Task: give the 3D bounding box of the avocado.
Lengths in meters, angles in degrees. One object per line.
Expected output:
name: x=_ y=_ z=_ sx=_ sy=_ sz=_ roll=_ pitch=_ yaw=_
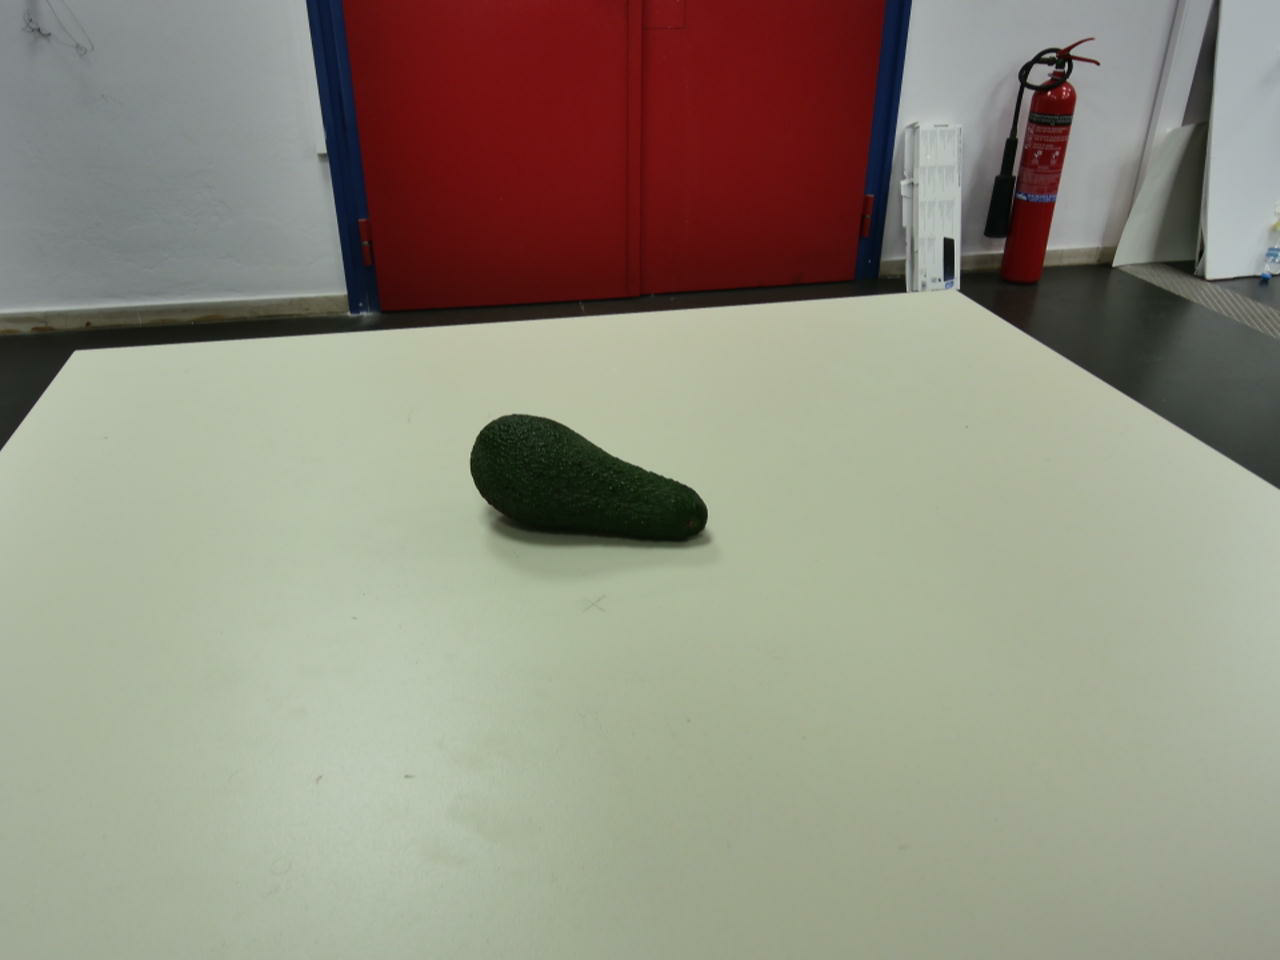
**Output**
avocado: x=-0.028 y=-0.004 z=0.575 sx=0.141 sy=0.067 sz=0.063 roll=1 pitch=27 yaw=2
